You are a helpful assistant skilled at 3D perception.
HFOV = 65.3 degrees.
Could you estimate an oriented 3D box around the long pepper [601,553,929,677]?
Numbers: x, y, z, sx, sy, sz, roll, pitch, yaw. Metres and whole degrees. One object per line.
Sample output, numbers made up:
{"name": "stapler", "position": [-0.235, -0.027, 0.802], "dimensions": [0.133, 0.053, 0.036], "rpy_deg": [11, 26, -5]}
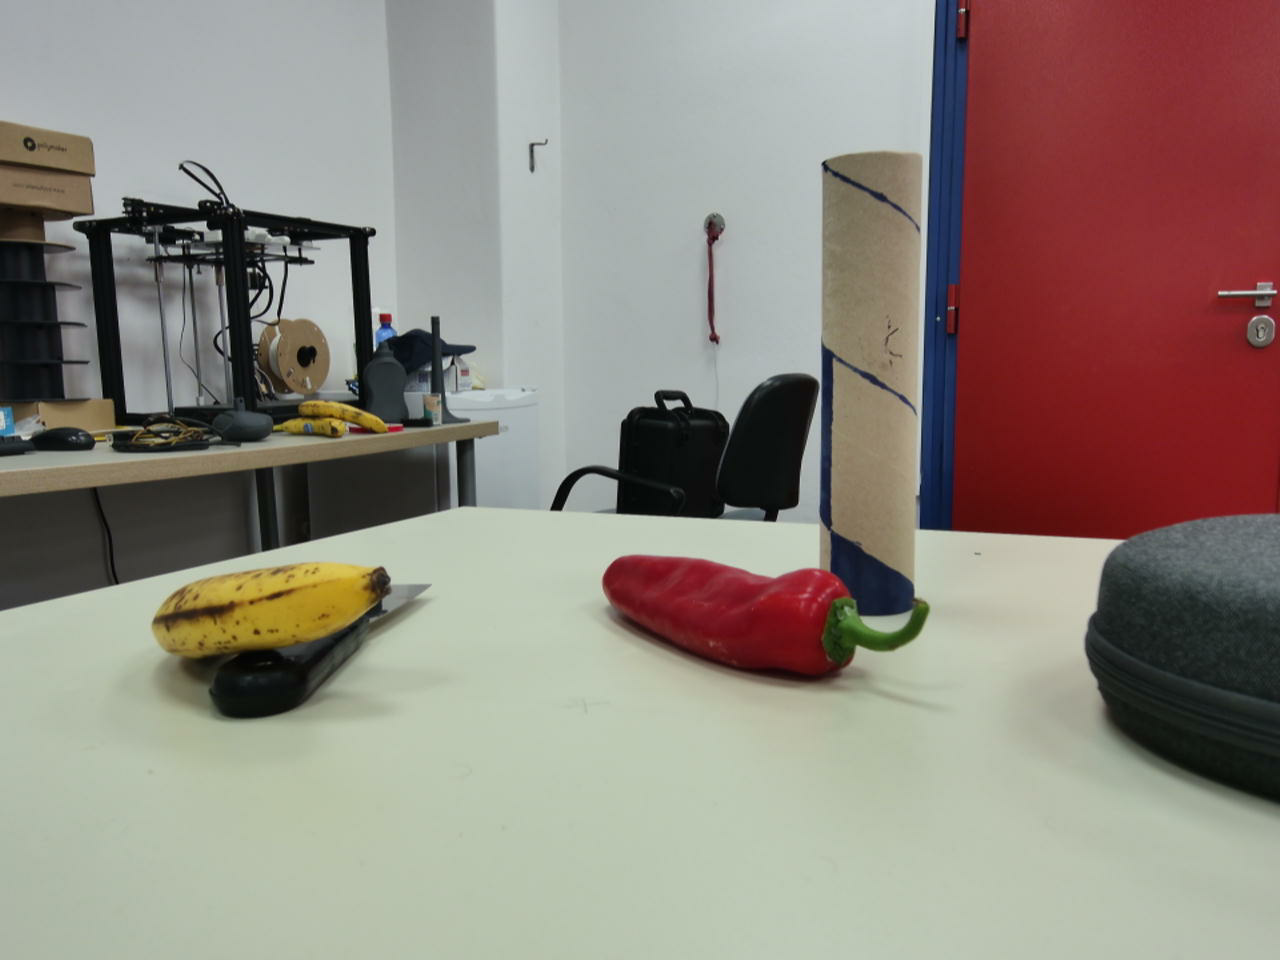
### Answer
{"name": "long pepper", "position": [0.037, 0.054, 0.446], "dimensions": [0.050, 0.043, 0.211], "rpy_deg": [-2, 4, -33]}
